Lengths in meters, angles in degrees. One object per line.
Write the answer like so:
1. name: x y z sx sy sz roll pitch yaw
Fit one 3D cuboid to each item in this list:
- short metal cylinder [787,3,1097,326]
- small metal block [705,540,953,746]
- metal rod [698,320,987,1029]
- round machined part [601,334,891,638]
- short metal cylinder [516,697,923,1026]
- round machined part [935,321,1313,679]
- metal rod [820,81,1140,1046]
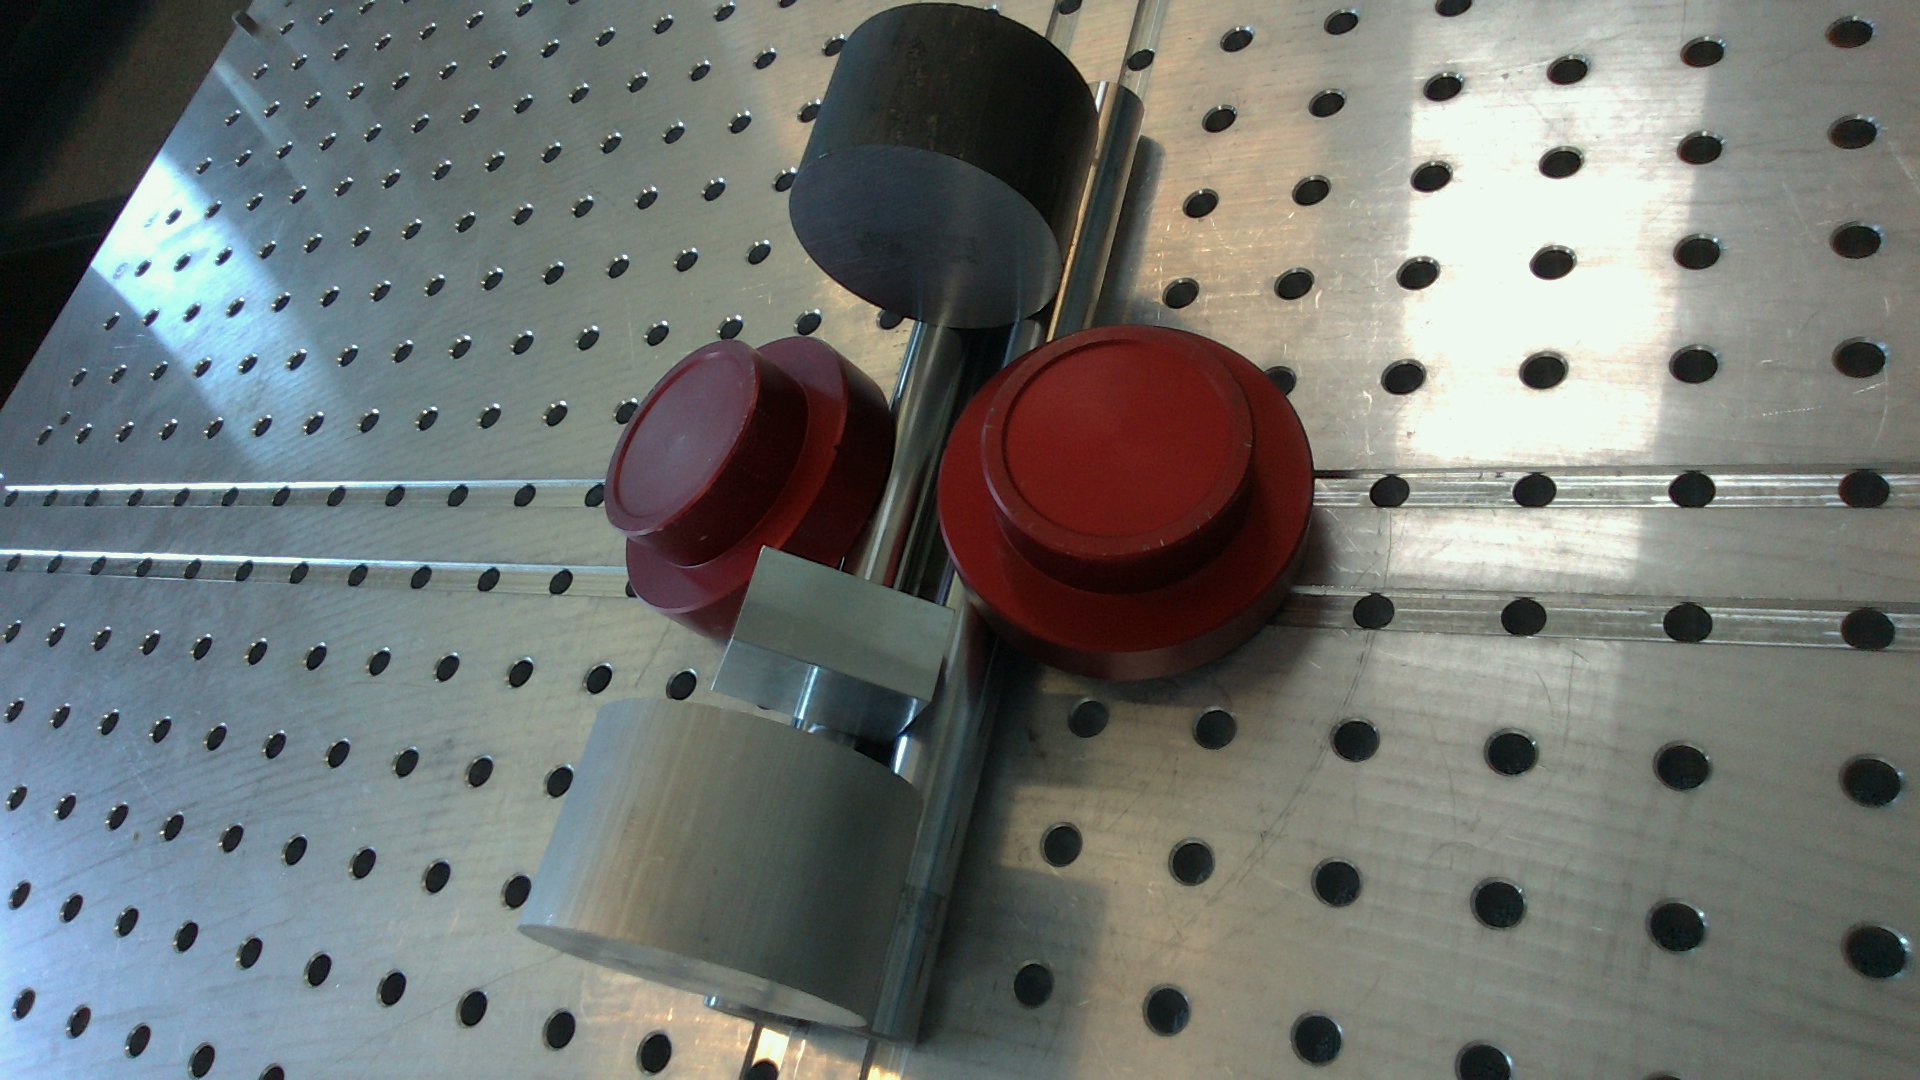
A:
1. short metal cylinder: -0.004 -0.107 0.401 0.080 0.080 0.050 1 62 29
2. small metal block: -0.035 0.028 0.352 0.050 0.050 0.025 20 65 -9
3. metal rod: -0.019 -0.010 0.412 0.025 0.025 0.300 1 62 29
4. round machined part: -0.072 -0.023 0.422 0.098 0.042 0.098 -25 47 30
5. short metal cylinder: -0.054 0.075 0.316 0.080 0.080 0.050 1 62 29
6. round machined part: 0.041 -0.017 0.357 0.098 0.042 0.098 -5 62 9
7. metal rod: 0.012 -0.012 0.396 0.025 0.025 0.300 1 62 29
